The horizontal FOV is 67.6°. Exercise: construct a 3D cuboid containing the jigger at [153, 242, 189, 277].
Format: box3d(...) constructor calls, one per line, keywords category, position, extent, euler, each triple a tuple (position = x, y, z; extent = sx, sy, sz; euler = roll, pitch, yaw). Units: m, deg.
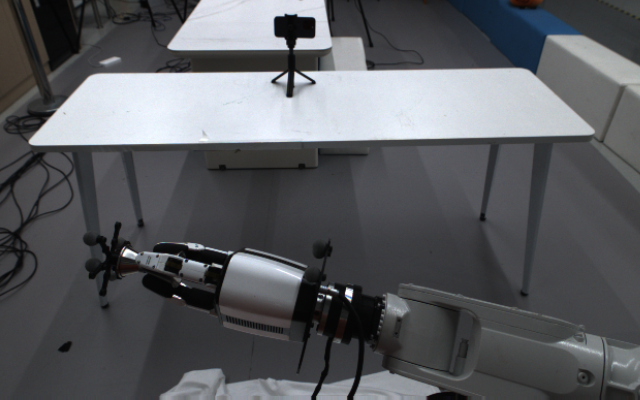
box3d(category="jigger", position=(-0.193, 0.075, 0.582), extent=(0.071, 0.043, 0.043), euler=(8, 35, 2))
